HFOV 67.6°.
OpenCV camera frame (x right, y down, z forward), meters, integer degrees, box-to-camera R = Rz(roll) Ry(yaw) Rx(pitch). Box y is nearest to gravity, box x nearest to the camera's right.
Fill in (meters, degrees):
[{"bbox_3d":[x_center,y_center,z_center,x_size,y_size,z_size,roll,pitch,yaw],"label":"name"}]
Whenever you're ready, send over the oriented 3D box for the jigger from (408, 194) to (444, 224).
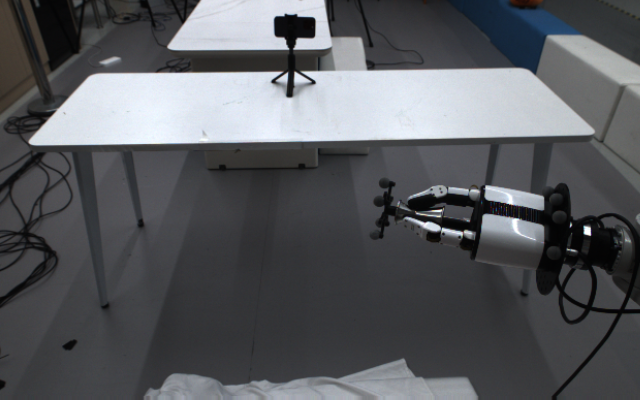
[{"bbox_3d":[0.155,0.021,0.726,0.071,0.043,0.043,11,36,15],"label":"jigger"}]
